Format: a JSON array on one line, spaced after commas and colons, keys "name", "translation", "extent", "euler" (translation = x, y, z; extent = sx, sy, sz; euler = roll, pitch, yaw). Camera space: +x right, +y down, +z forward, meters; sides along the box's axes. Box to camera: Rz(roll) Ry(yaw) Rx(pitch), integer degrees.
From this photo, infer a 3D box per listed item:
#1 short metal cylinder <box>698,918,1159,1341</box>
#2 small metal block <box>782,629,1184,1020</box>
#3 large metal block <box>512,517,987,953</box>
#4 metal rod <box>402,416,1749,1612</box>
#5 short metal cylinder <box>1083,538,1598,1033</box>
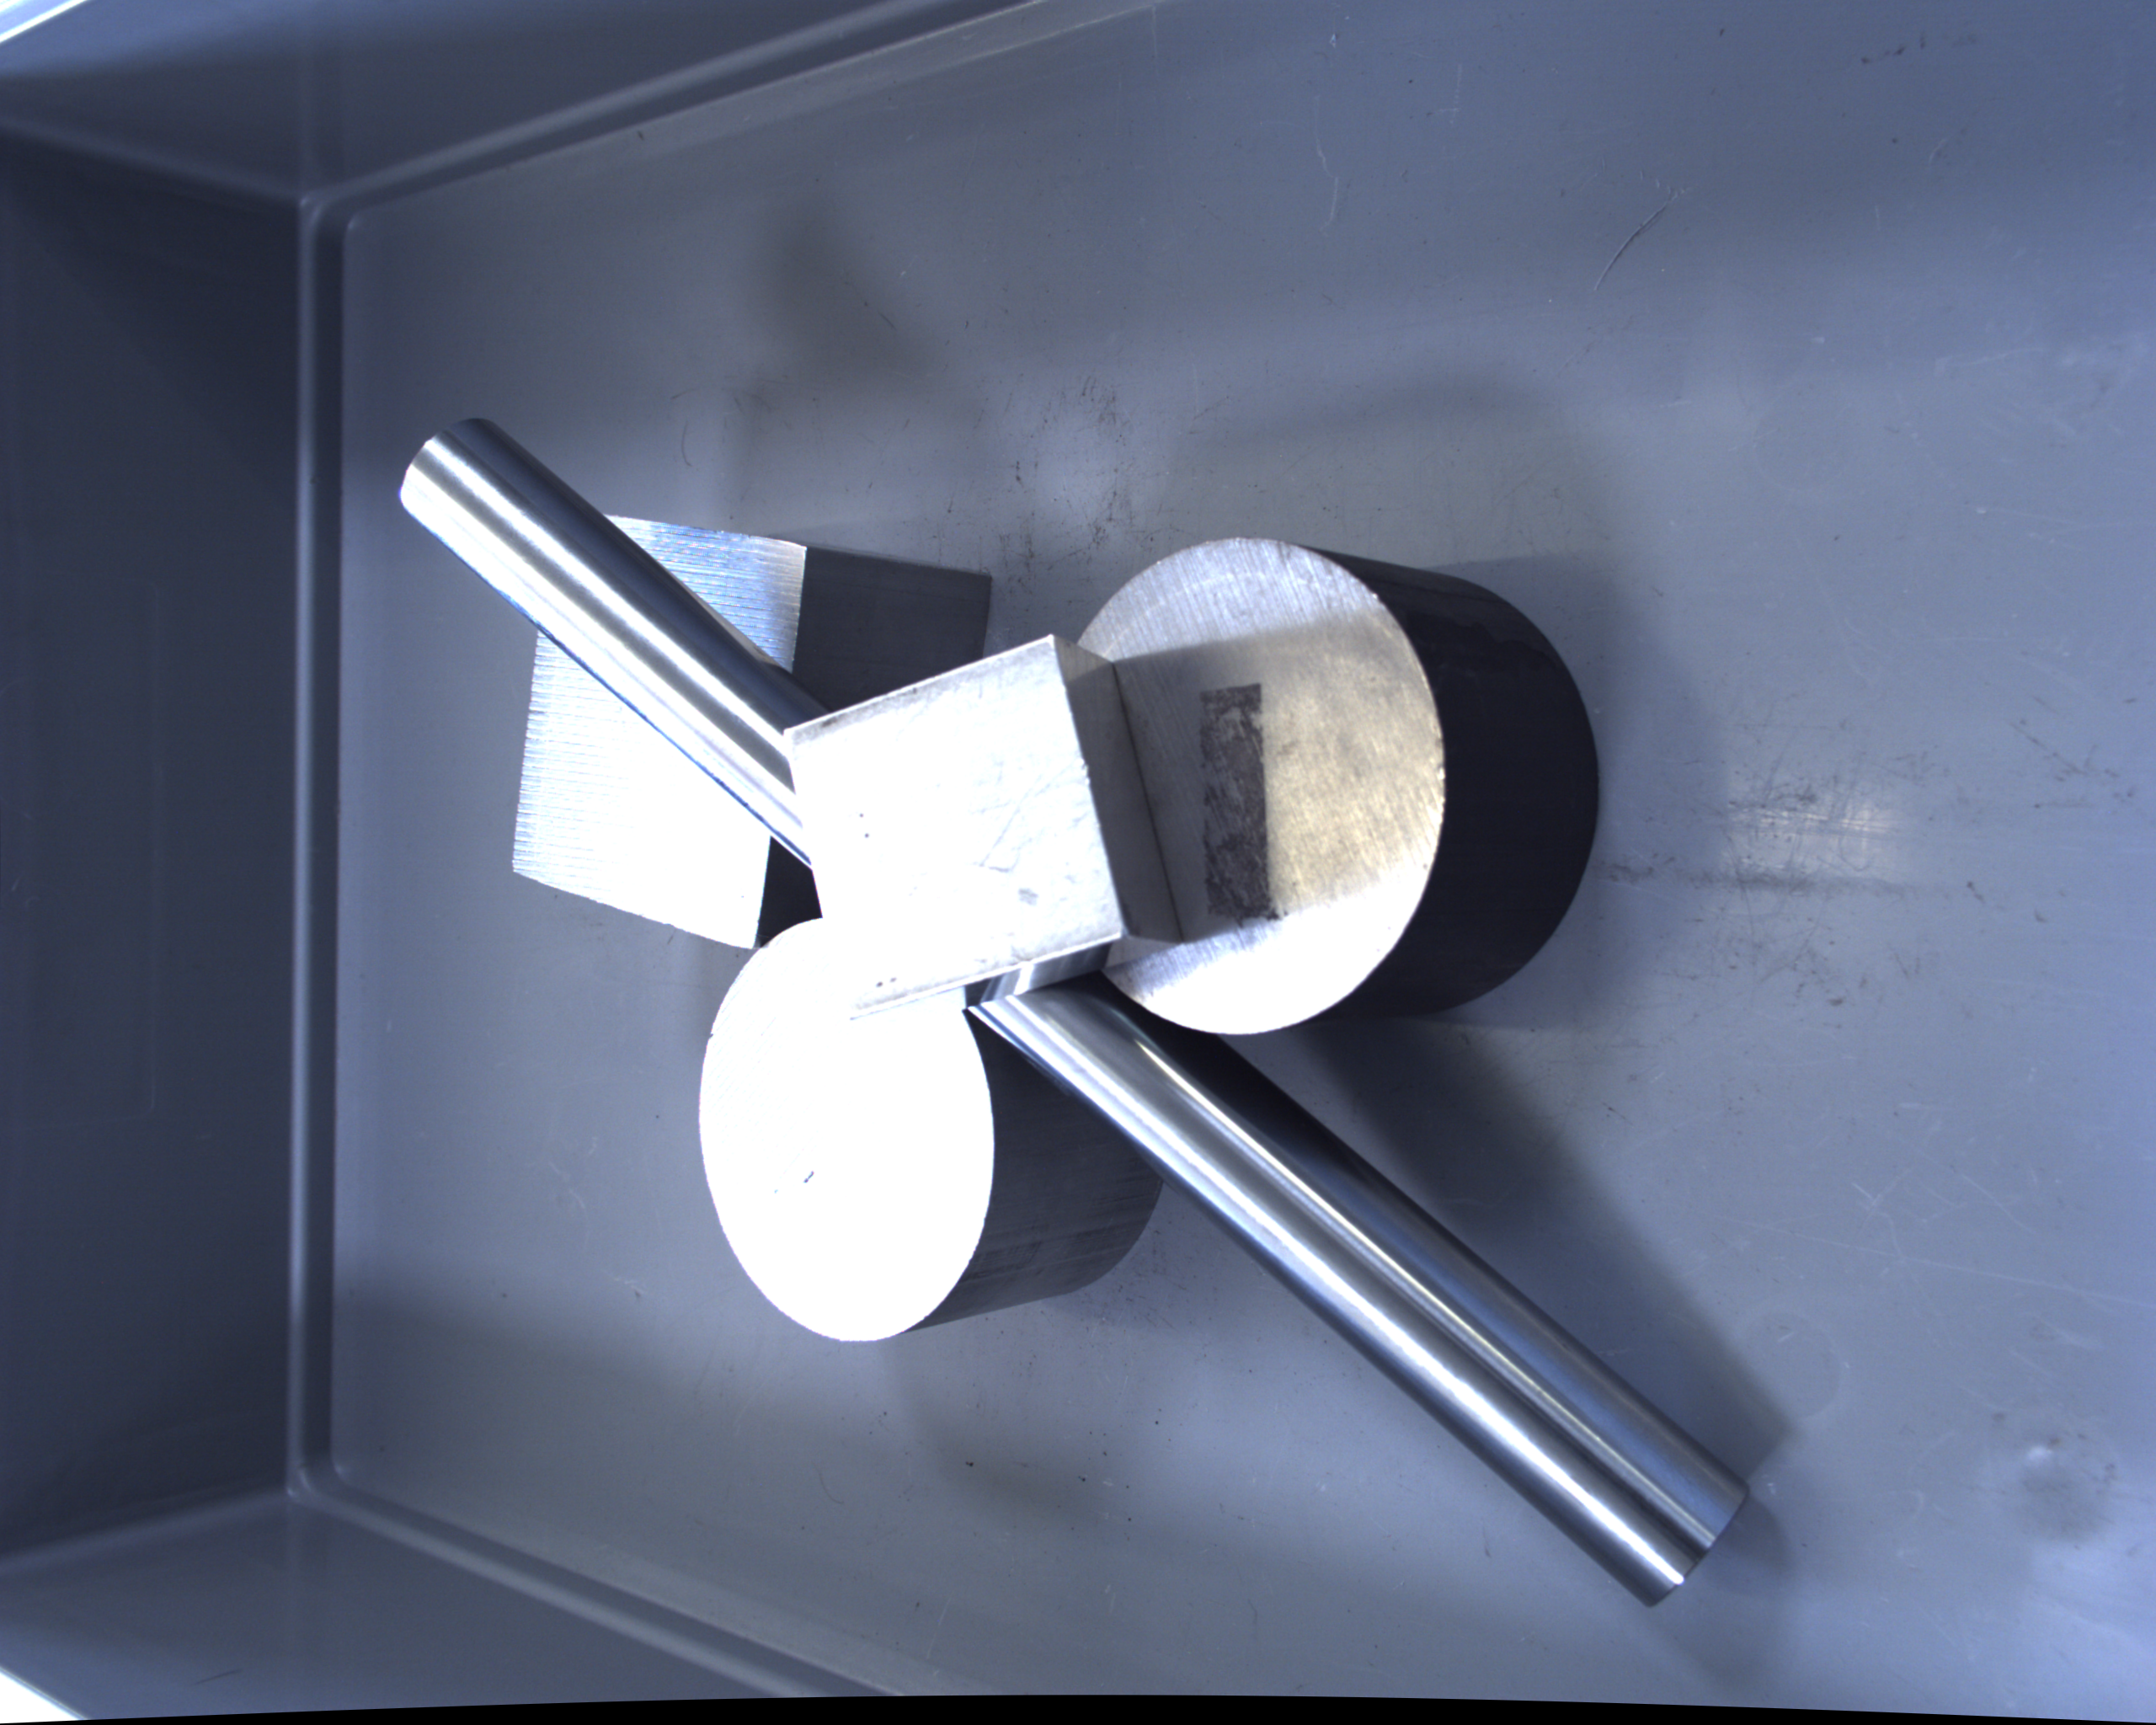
[{"name": "short metal cylinder", "translation": [-0.029, 0.050, 0.412], "extent": [0.080, 0.050, 0.079], "euler": [0, 90, 40]}, {"name": "small metal block", "translation": [-0.016, -0.005, 0.343], "extent": [0.050, 0.025, 0.050], "euler": [-18, 78, 20]}, {"name": "large metal block", "translation": [-0.071, -0.029, 0.445], "extent": [0.080, 0.050, 0.079], "euler": [14, 99, 39]}, {"name": "metal rod", "translation": [-0.013, 0.015, 0.369], "extent": [0.300, 0.025, 0.025], "euler": [40, 115, 17]}, {"name": "short metal cylinder", "translation": [0.040, -0.012, 0.355], "extent": [0.080, 0.050, 0.079], "euler": [0, 90, 40]}]
